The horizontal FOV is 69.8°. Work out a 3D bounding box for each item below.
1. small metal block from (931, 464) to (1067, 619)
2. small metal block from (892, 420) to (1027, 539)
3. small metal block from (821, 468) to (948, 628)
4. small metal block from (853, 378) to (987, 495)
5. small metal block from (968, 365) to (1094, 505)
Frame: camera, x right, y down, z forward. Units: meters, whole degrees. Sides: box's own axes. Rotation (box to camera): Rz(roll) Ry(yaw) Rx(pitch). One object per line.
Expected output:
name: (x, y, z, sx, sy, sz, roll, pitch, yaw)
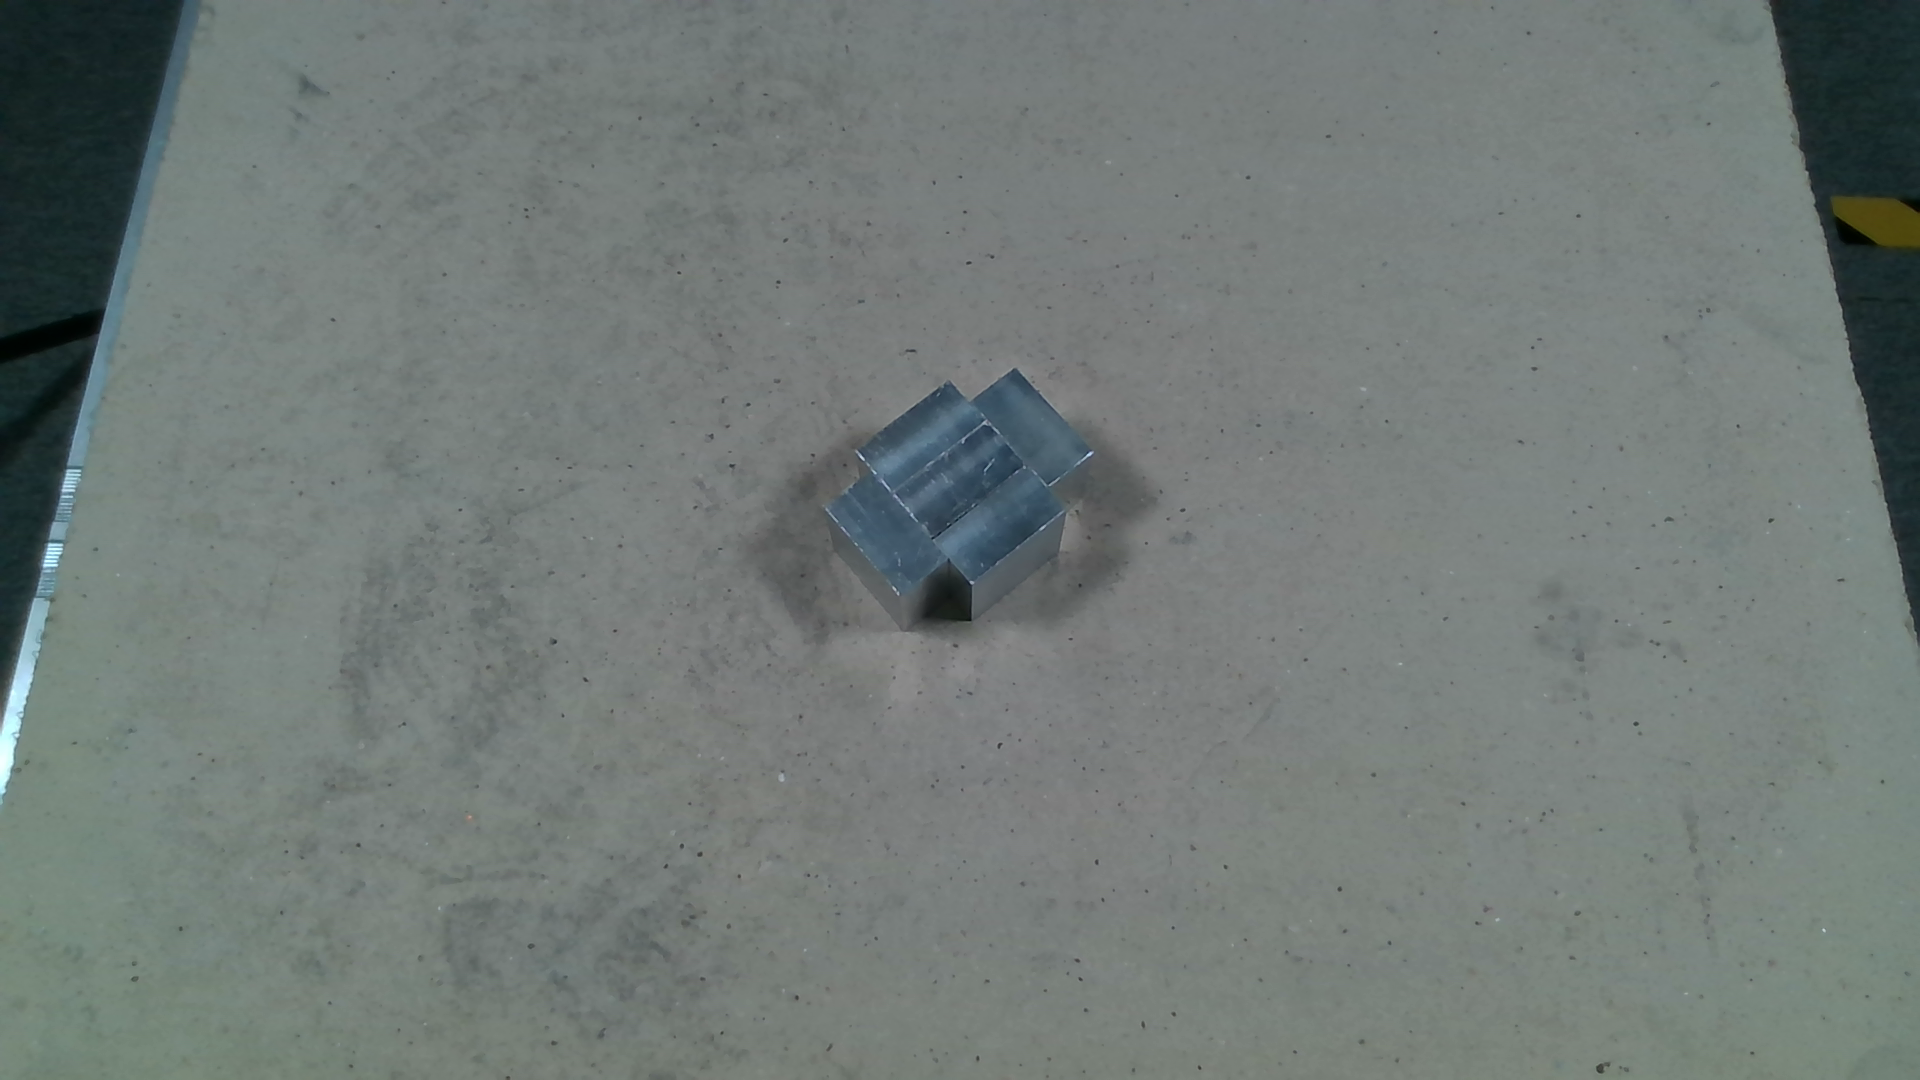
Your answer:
small metal block: (0.016, 0.002, 0.574, 0.050, 0.050, 0.025, -39, 75, -13)
small metal block: (0.000, -0.017, 0.580, 0.050, 0.050, 0.025, -38, 74, -13)
small metal block: (-0.030, 0.005, 0.573, 0.025, 0.050, 0.050, -38, 74, -13)
small metal block: (-0.016, -0.035, 0.587, 0.050, 0.050, 0.025, -38, 74, -13)
small metal block: (0.029, -0.039, 0.588, 0.025, 0.050, 0.050, -38, 74, -13)
